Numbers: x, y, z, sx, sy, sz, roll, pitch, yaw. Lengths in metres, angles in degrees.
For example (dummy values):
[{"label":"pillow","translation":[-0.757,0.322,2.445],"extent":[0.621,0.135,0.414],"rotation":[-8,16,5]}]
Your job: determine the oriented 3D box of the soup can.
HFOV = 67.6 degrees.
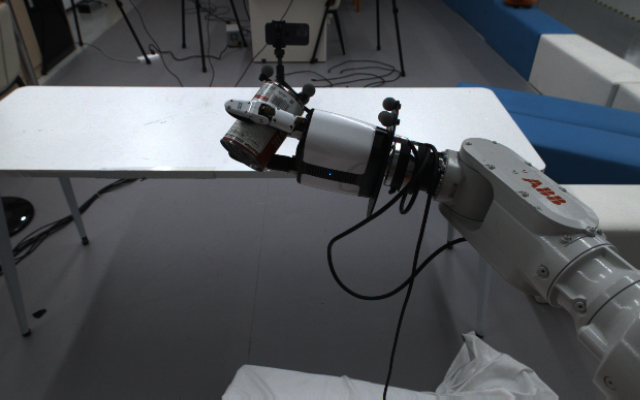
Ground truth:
[{"label":"soup can","translation":[-0.075,-0.097,0.643],"extent":[0.067,0.067,0.101],"rotation":[26,75,31]}]
